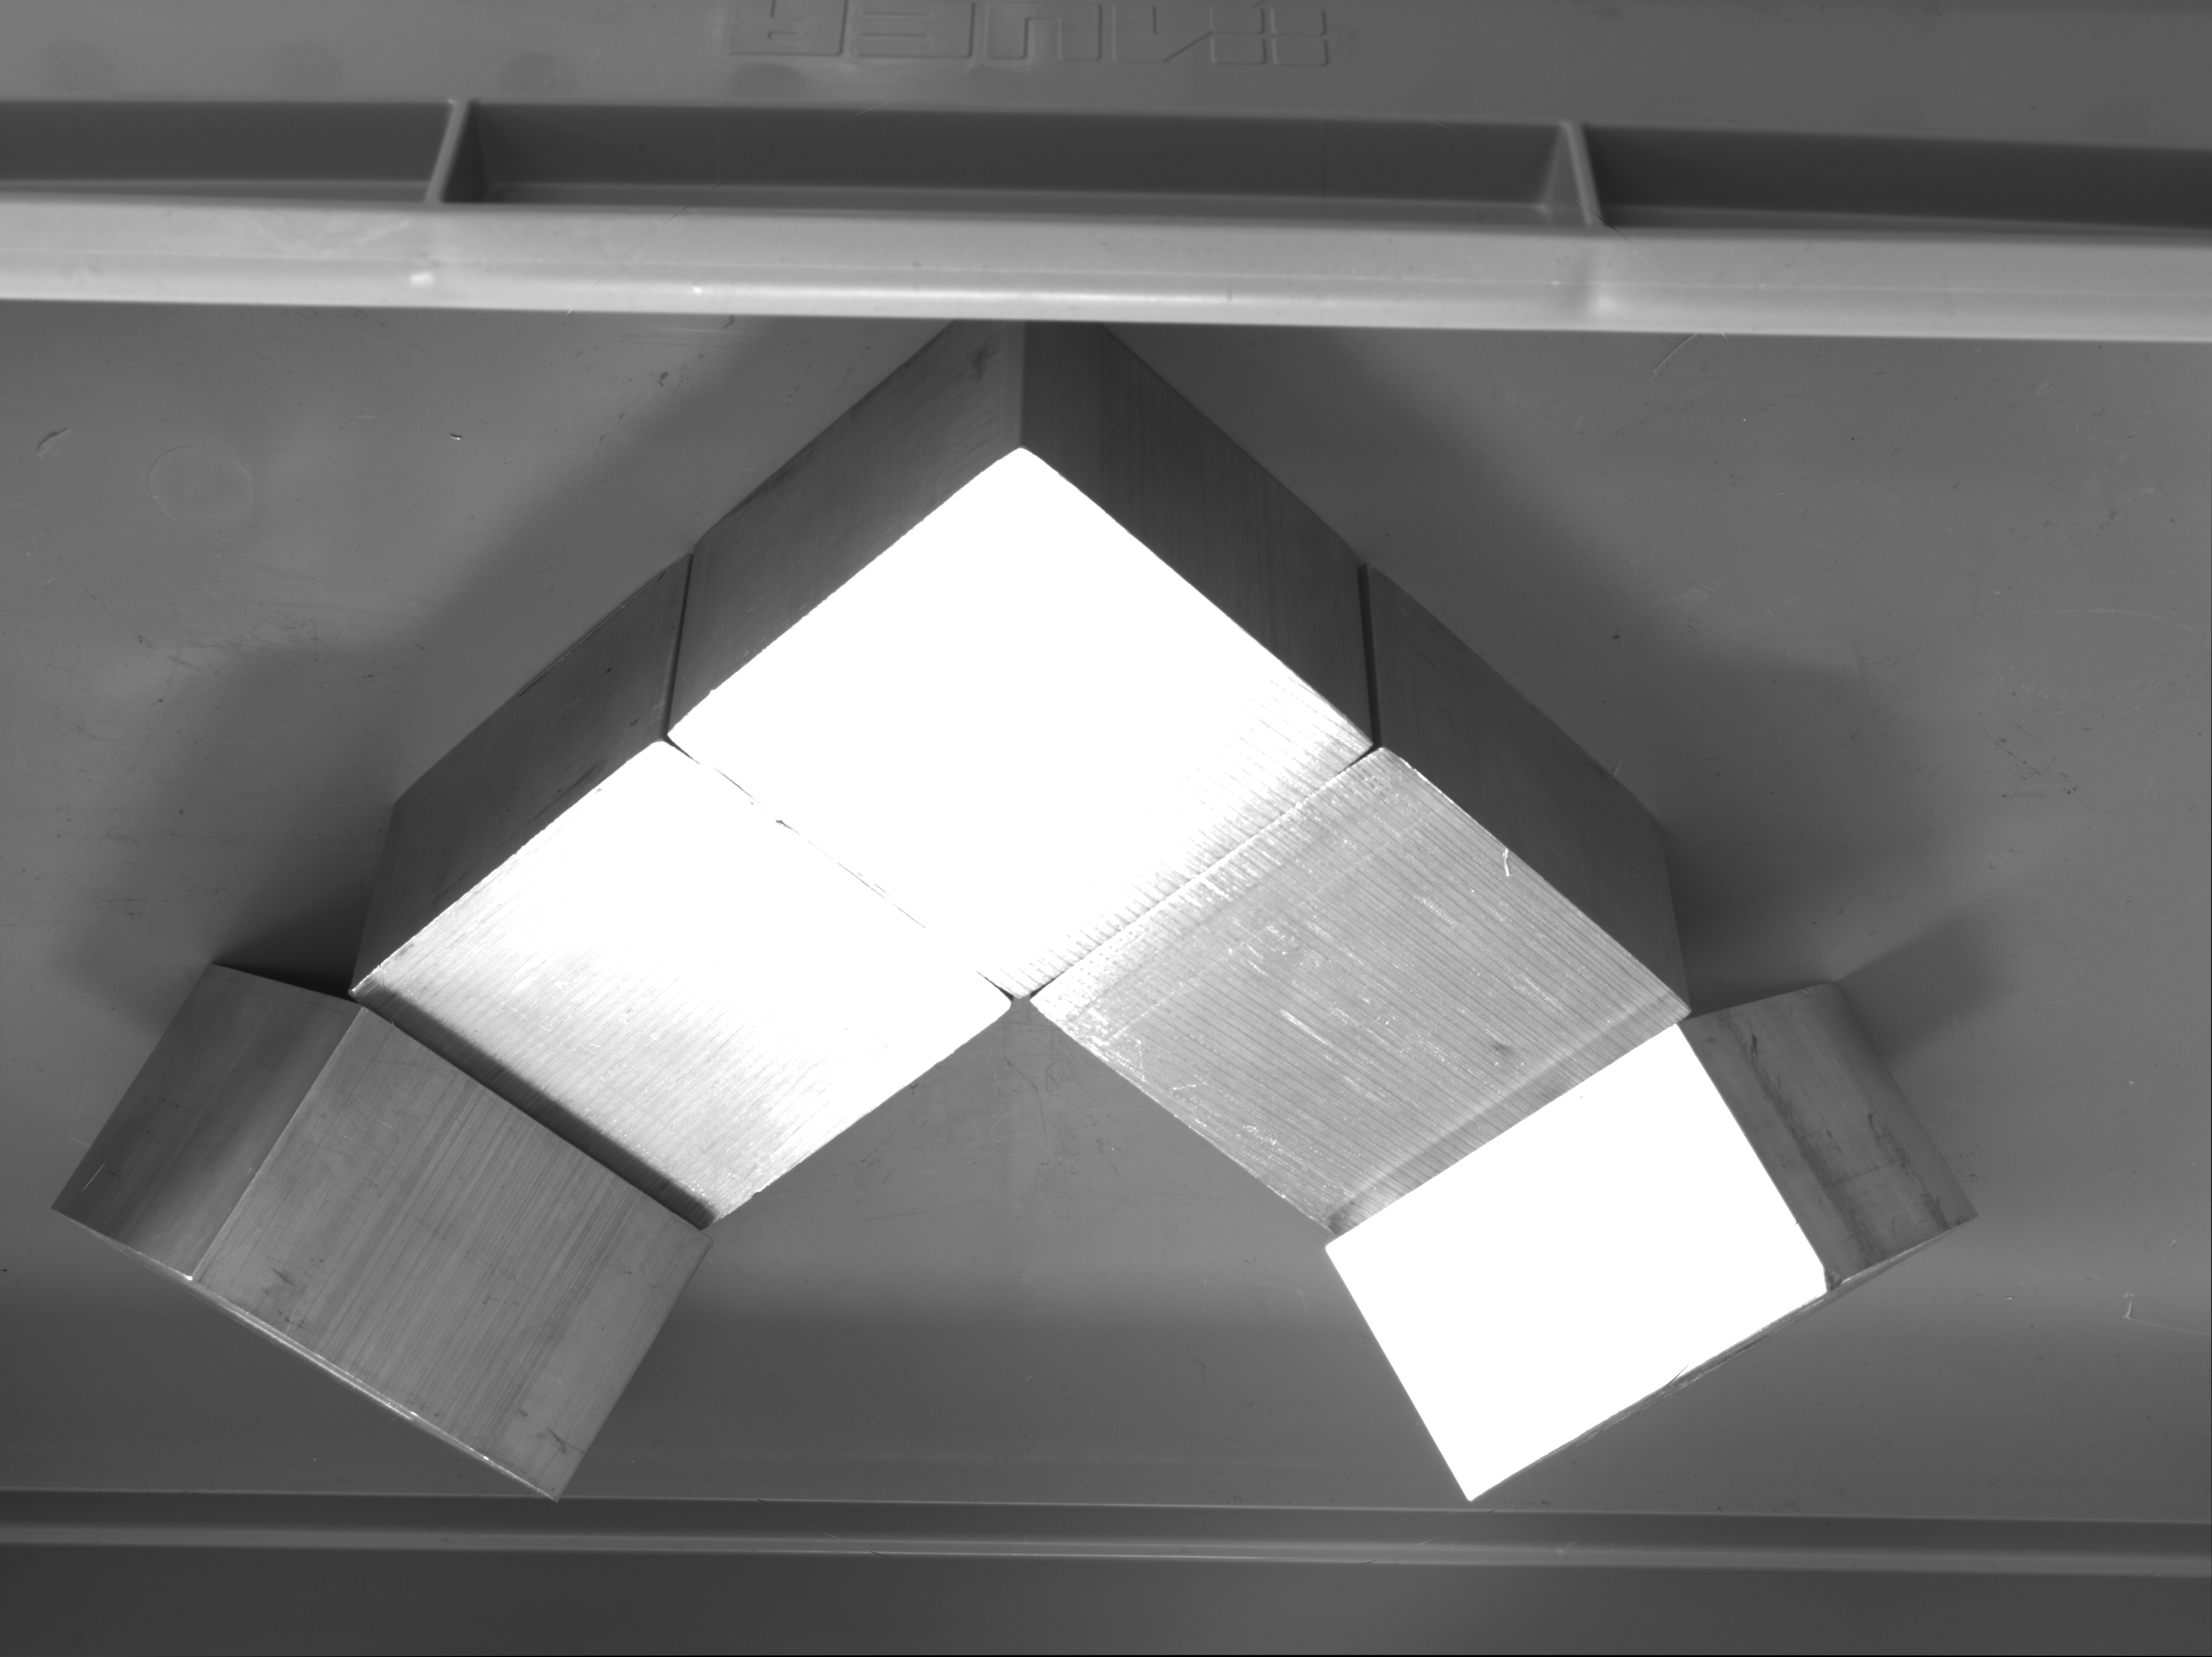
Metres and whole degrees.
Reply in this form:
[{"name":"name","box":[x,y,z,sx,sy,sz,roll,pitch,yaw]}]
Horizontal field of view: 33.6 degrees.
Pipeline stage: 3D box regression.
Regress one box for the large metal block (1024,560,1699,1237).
[{"name":"large metal block","box":[0.043,0.014,0.633,0.080,0.050,0.080,-37,121,26]}]

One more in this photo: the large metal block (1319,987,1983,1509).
[{"name":"large metal block","box":[0.098,0.073,0.655,0.080,0.050,0.080,-37,164,27]}]

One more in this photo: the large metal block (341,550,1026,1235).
[{"name":"large metal block","box":[-0.071,0.013,0.631,0.080,0.050,0.080,-37,121,26]}]

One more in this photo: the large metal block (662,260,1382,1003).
[{"name":"large metal block","box":[-0.013,-0.030,0.595,0.080,0.050,0.080,-37,121,26]}]

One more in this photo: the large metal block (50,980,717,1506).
[{"name":"large metal block","box":[-0.129,0.072,0.653,0.080,0.050,0.080,38,163,-28]}]
